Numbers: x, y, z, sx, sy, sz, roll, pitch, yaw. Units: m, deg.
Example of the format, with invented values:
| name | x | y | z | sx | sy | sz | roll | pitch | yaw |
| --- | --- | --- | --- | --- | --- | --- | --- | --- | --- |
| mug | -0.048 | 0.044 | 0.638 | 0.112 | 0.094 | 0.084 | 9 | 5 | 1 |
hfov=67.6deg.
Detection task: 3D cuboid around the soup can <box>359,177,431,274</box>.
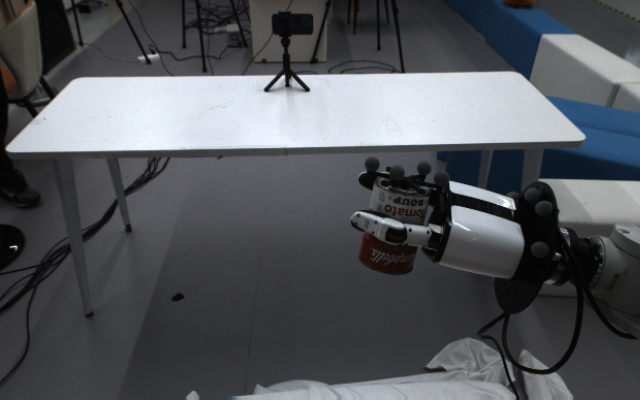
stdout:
| name | x | y | z | sx | sy | sz | roll | pitch | yaw |
| --- | --- | --- | --- | --- | --- | --- | --- | --- | --- |
| soup can | 0.090 | 0.028 | 0.575 | 0.067 | 0.101 | 0.067 | 9 | 19 | -3 |
